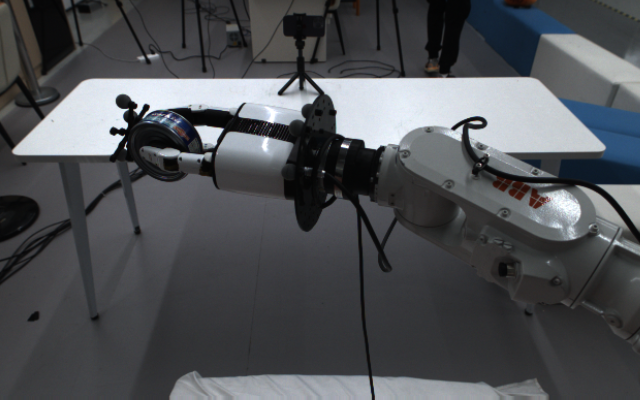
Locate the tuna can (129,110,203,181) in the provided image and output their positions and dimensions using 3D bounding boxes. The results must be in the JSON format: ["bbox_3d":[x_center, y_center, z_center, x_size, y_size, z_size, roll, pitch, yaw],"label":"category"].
[{"bbox_3d":[-0.189,-0.064,0.597,0.085,0.085,0.034,8,36,9],"label":"tuna can"}]
